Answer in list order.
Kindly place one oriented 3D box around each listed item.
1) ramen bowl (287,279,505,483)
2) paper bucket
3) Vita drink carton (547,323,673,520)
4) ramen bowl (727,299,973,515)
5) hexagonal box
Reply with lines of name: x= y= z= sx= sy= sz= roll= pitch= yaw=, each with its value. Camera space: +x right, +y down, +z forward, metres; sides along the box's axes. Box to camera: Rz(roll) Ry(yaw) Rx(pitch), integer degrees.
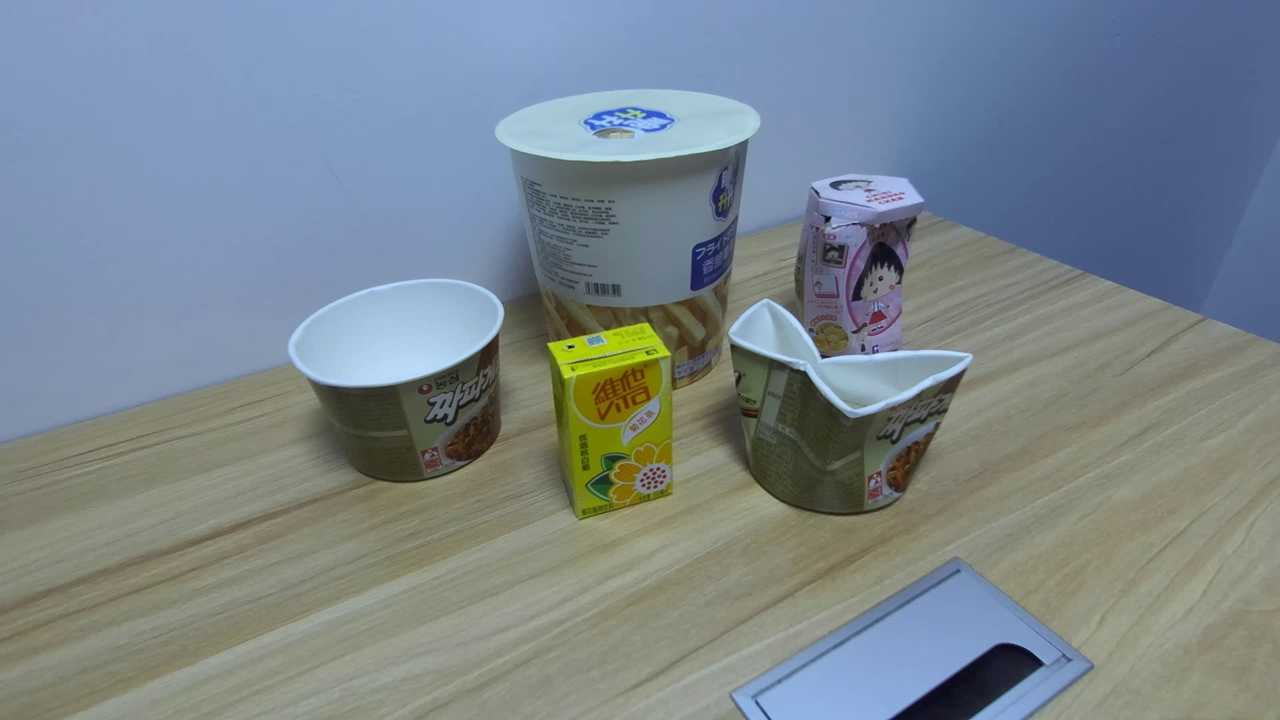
ramen bowl: x=-0.161 y=0.016 z=0.503 sx=0.140 sy=0.095 sz=0.140 roll=-2 pitch=33 yaw=1
paper bucket: x=-0.004 y=-0.091 z=0.558 sx=0.198 sy=0.195 sz=0.198 roll=-2 pitch=33 yaw=1
Vita drink carton: x=-0.016 y=0.038 z=0.437 sx=0.067 sy=0.109 sz=0.043 roll=-12 pitch=34 yaw=-15
ramen bowl: x=0.122 y=0.026 z=0.460 sx=0.112 sy=0.093 sz=0.127 roll=-24 pitch=39 yaw=-28
hexagonal box: x=0.173 y=-0.074 z=0.576 sx=0.091 sy=0.134 sz=0.090 roll=5 pitch=31 yaw=12
